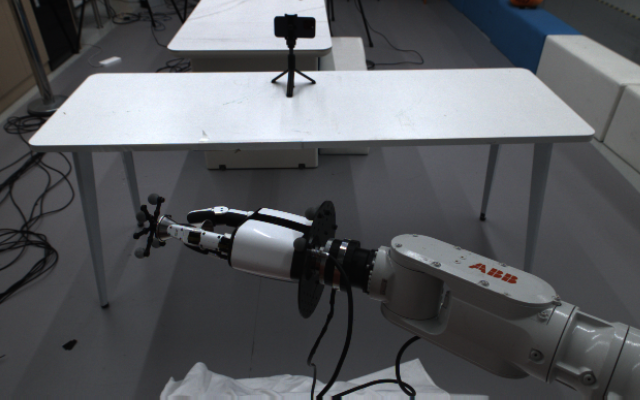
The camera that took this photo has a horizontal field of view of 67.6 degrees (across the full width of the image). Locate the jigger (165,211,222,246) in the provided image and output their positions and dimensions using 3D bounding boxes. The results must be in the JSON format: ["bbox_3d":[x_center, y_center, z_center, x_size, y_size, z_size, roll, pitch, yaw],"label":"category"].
[{"bbox_3d":[-0.187,0.042,0.693,0.071,0.043,0.043,7,35,13],"label":"jigger"}]
